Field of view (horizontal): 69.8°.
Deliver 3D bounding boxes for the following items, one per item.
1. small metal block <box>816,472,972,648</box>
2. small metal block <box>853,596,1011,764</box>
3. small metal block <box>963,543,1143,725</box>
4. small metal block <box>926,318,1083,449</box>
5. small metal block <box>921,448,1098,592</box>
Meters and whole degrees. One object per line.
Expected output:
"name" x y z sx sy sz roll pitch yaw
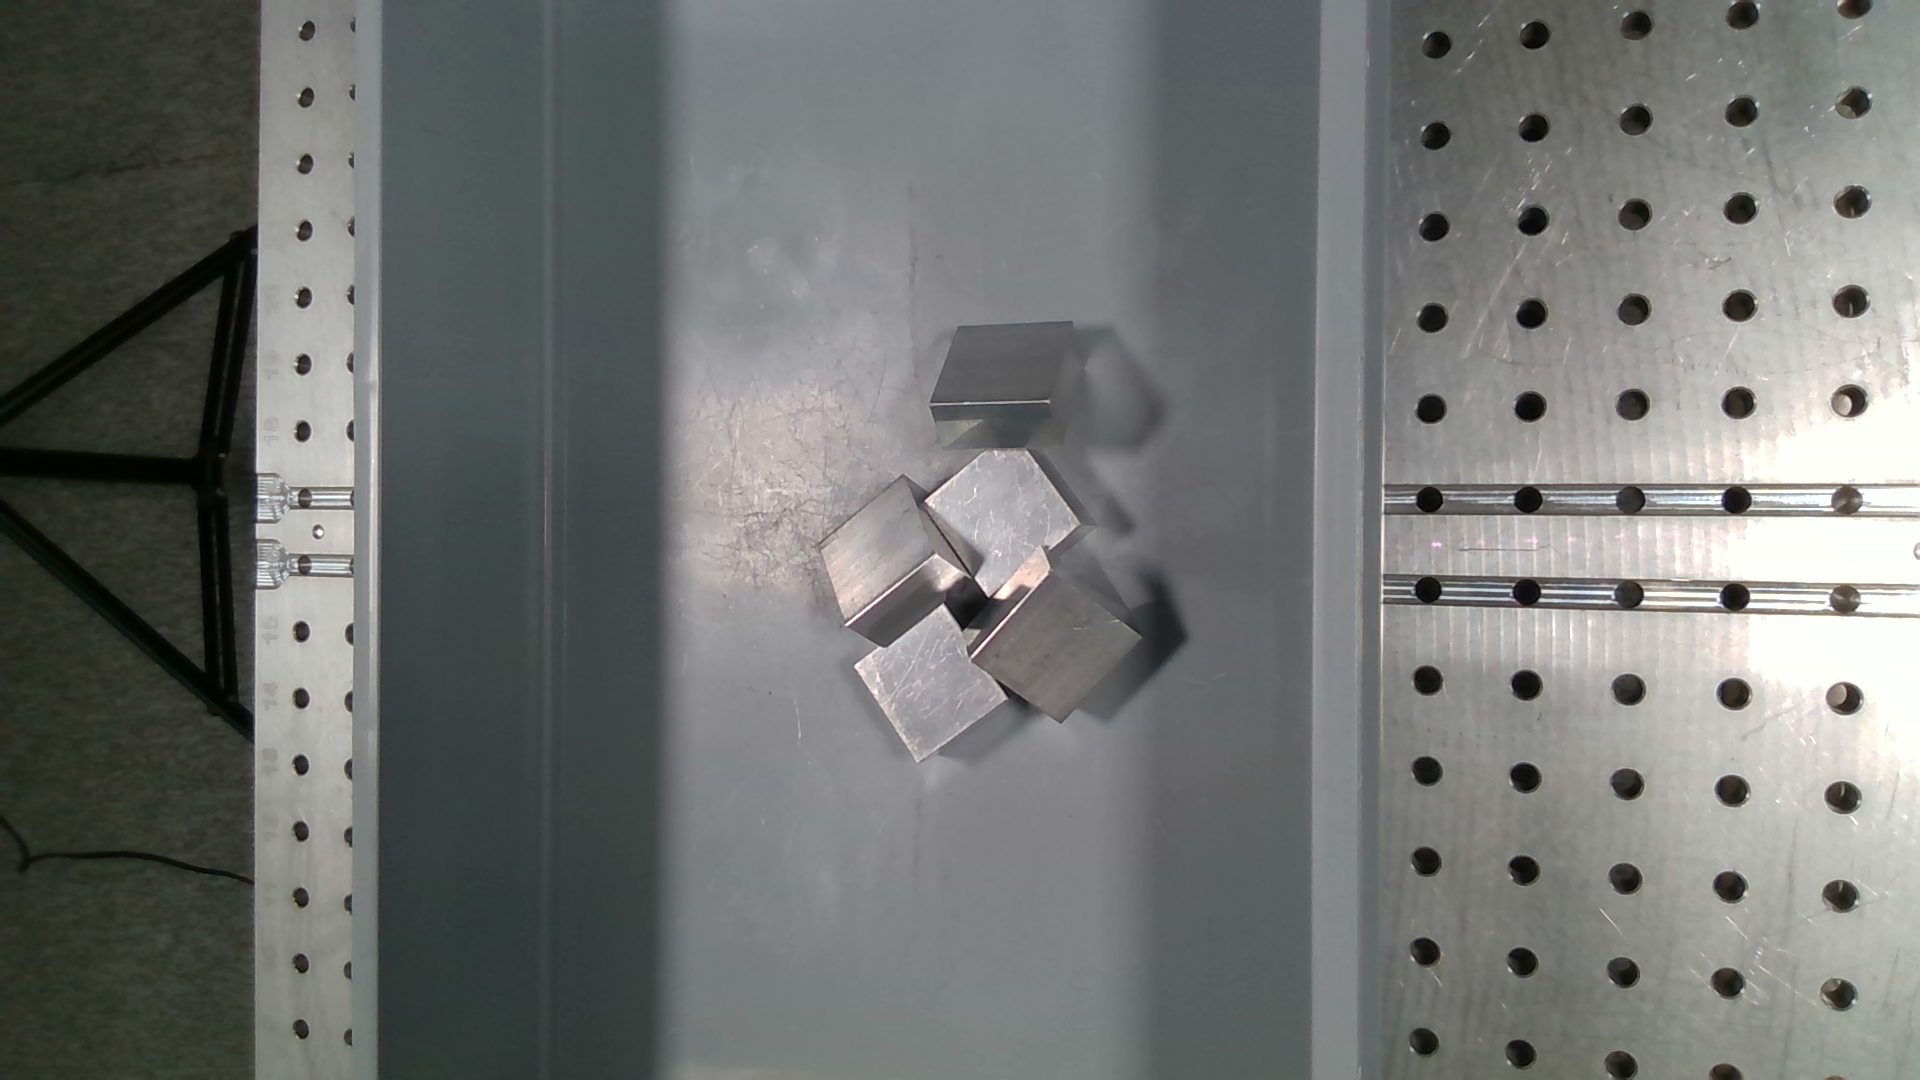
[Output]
"small metal block" -0.029 0.008 0.583 0.050 0.025 0.050 -38 46 16
"small metal block" -0.009 0.059 0.588 0.050 0.025 0.050 -38 78 17
"small metal block" 0.037 0.038 0.559 0.050 0.025 0.050 36 105 -19
"small metal block" 0.019 -0.064 0.562 0.050 0.025 0.050 1 47 20
"small metal block" 0.021 -0.011 0.576 0.050 0.025 0.050 -40 78 16
